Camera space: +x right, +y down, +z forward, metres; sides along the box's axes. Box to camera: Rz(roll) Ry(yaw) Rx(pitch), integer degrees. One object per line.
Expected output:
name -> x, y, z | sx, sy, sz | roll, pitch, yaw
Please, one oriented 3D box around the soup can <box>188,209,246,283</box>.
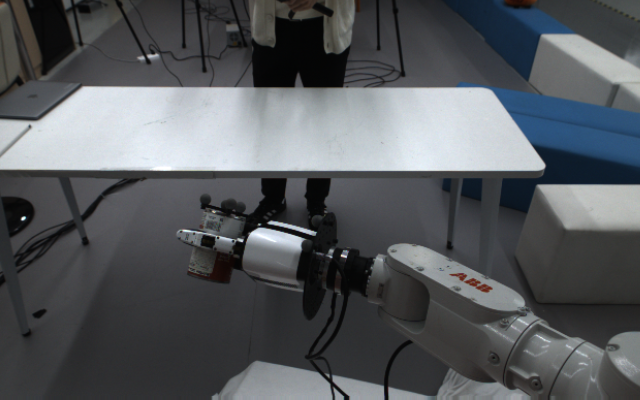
soup can -> -0.157, 0.073, 0.737 | 0.067, 0.101, 0.067 | 13, -6, 1
